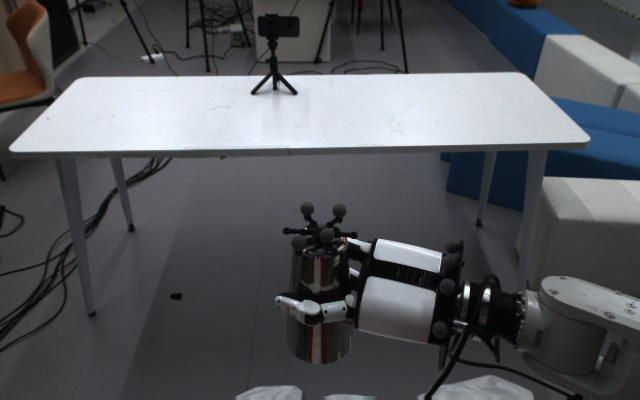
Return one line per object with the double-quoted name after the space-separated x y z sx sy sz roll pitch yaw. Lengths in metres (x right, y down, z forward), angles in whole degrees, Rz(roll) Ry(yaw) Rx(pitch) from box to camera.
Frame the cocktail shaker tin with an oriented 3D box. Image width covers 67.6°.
0.002 0.117 0.624 0.093 0.170 0.093 0 33 0 "cocktail shaker tin"
